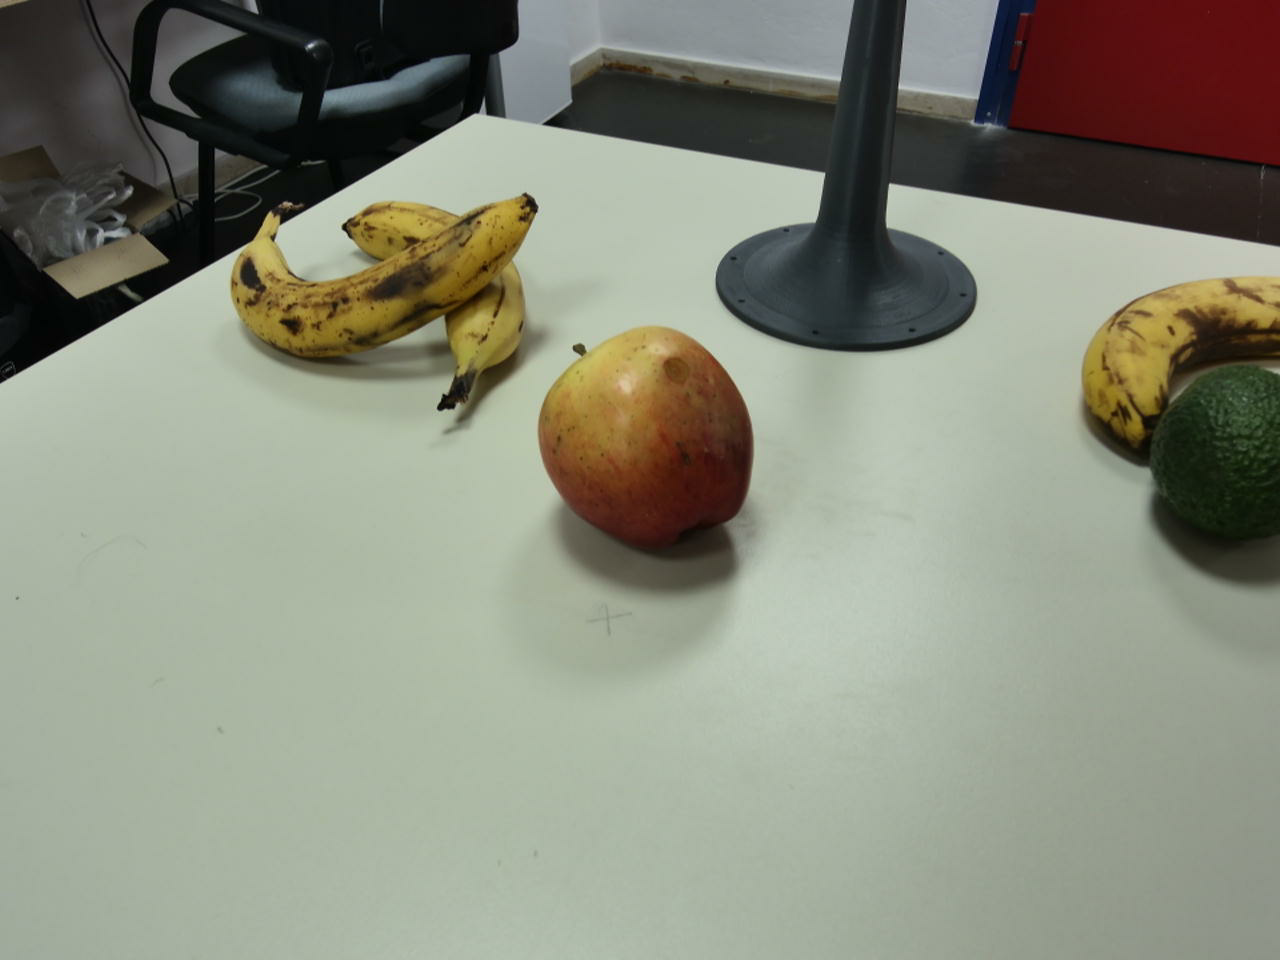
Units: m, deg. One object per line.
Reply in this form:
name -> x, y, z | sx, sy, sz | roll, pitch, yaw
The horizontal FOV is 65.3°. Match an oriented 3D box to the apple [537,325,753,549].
apple -> 0.002, -0.018, 0.409 | 0.086, 0.084, 0.093 | -7, 37, -7
